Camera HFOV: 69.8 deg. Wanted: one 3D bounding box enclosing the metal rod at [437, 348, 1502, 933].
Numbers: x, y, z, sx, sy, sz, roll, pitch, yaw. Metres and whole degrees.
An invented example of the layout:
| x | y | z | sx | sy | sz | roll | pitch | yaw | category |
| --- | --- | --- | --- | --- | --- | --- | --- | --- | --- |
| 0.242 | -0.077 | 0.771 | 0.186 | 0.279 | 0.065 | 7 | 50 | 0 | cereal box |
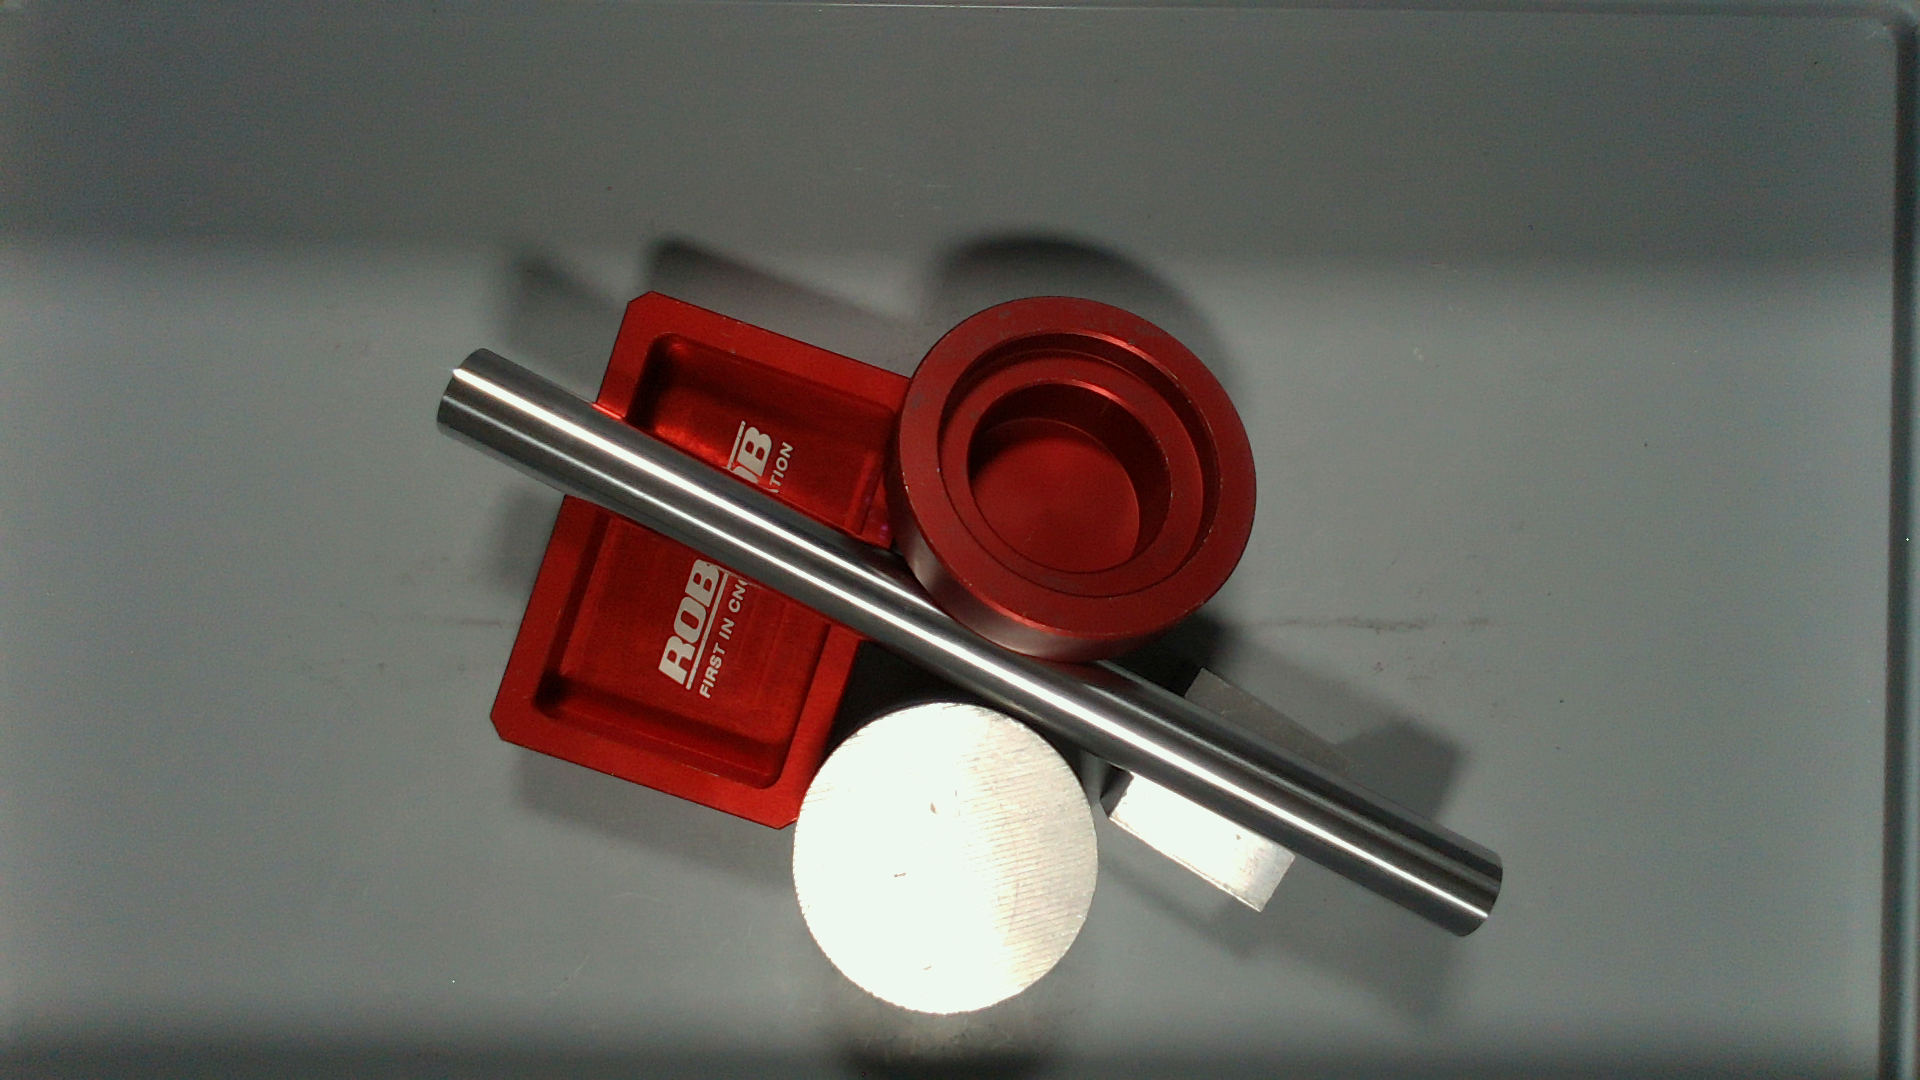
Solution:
| x | y | z | sx | sy | sz | roll | pitch | yaw | category |
| --- | --- | --- | --- | --- | --- | --- | --- | --- | --- |
| 0.005 | 0.028 | 0.365 | 0.300 | 0.025 | 0.025 | 26 | 90 | -3 | metal rod |

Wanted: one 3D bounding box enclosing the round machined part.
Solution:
| x | y | z | sx | sy | sz | roll | pitch | yaw | category |
| --- | --- | --- | --- | --- | --- | --- | --- | --- | --- |
| 0.027 | -0.013 | 0.373 | 0.098 | 0.042 | 0.098 | 5 | 68 | -12 | round machined part |

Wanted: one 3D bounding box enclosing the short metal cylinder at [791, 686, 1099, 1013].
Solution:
| x | y | z | sx | sy | sz | roll | pitch | yaw | category |
| --- | --- | --- | --- | --- | --- | --- | --- | --- | --- |
| -0.004 | 0.083 | 0.381 | 0.080 | 0.050 | 0.080 | 0 | 90 | 0 | short metal cylinder |

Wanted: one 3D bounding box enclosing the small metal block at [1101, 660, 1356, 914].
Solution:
| x | y | z | sx | sy | sz | roll | pitch | yaw | category |
| --- | --- | --- | --- | --- | --- | --- | --- | --- | --- |
| 0.076 | 0.070 | 0.394 | 0.050 | 0.025 | 0.050 | 31 | 90 | 0 | small metal block |

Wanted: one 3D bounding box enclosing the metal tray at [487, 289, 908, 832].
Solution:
| x | y | z | sx | sy | sz | roll | pitch | yaw | category |
| --- | --- | --- | --- | --- | --- | --- | --- | --- | --- |
| -0.068 | 0.006 | 0.390 | 0.090 | 0.030 | 0.130 | 18 | 90 | 0 | metal tray |
